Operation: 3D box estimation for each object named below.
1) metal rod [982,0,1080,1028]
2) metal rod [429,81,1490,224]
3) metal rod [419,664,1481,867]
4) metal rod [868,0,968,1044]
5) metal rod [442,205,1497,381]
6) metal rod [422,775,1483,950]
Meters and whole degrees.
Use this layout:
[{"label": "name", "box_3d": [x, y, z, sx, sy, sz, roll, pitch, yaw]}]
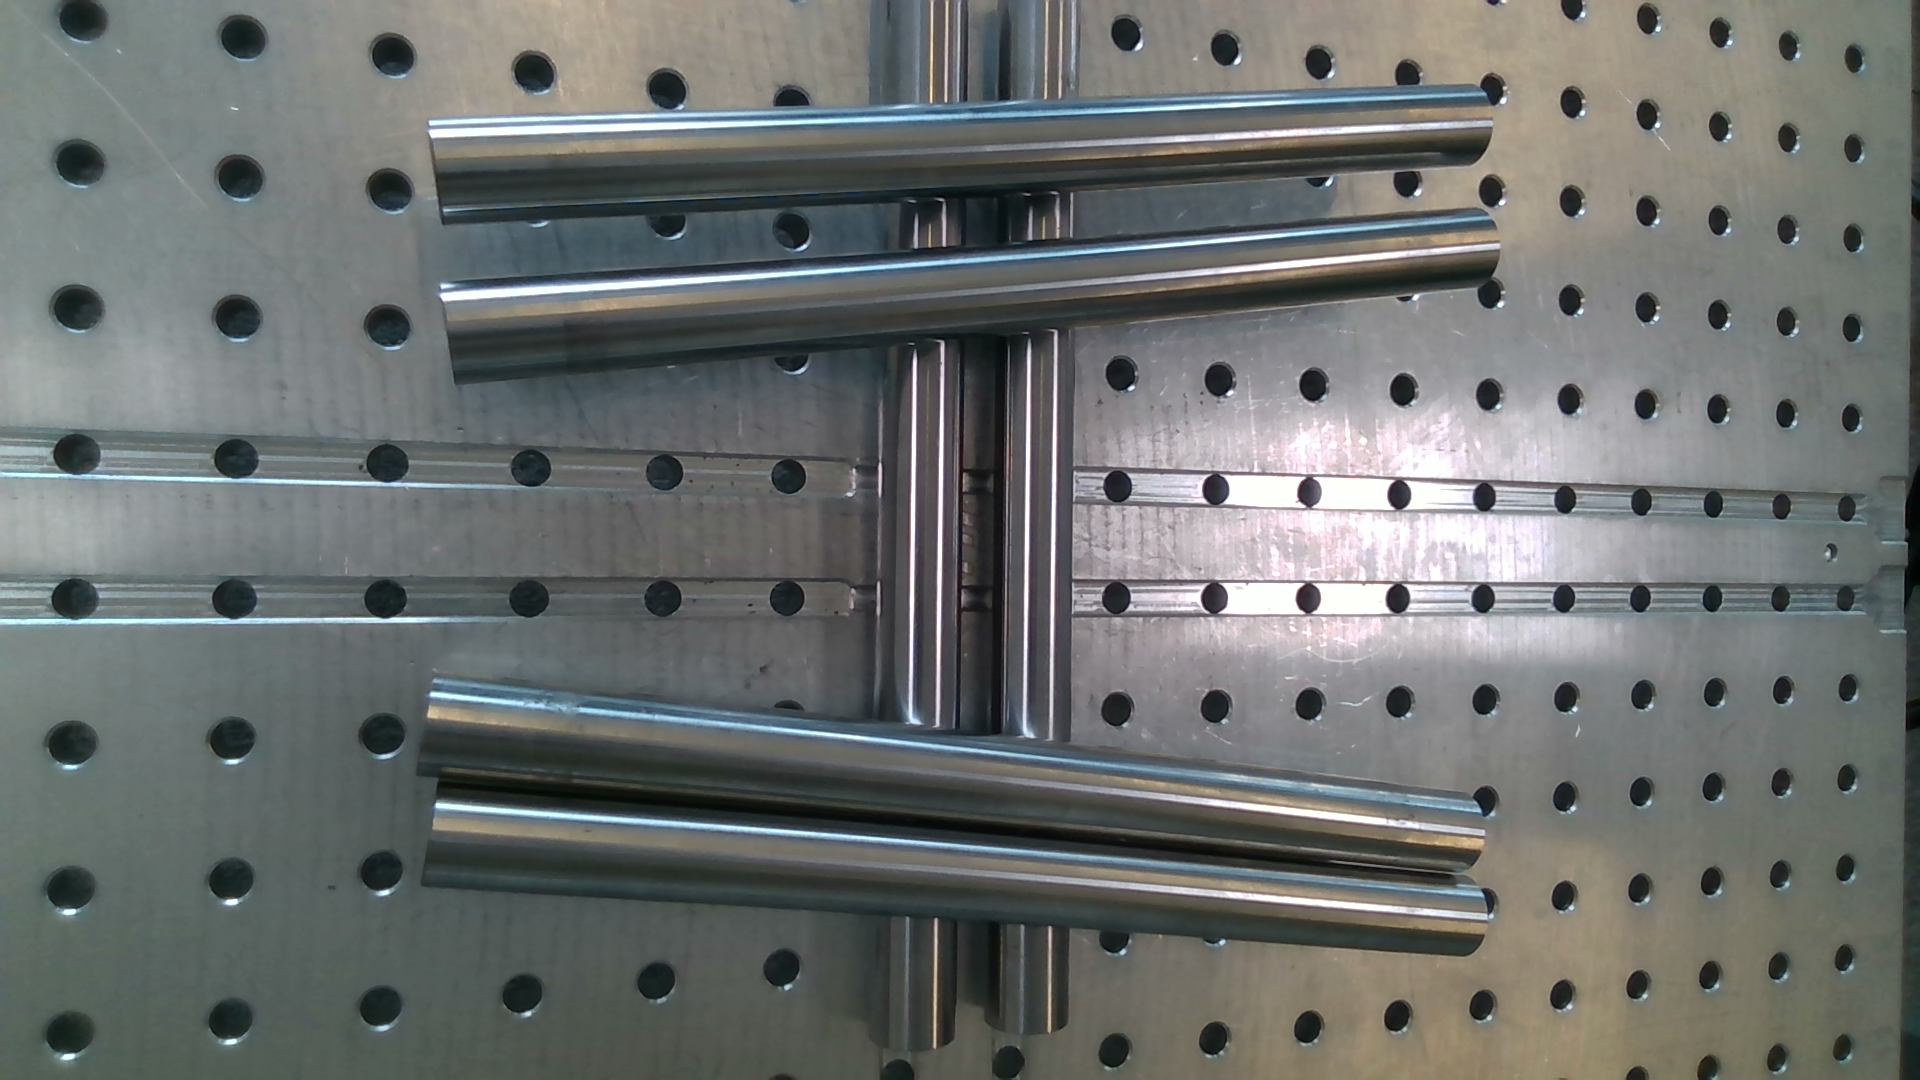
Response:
[{"label": "metal rod", "box_3d": [0.021, -0.011, 0.405, 0.025, 0.025, 0.300, 1, 90, -20]}, {"label": "metal rod", "box_3d": [0.016, -0.108, 0.376, 0.300, 0.025, 0.025, -9, 93, -20]}, {"label": "metal rod", "box_3d": [0.014, 0.065, 0.376, 0.300, 0.025, 0.025, 10, 87, -20]}, {"label": "metal rod", "box_3d": [-0.012, -0.011, 0.393, 0.025, 0.025, 0.300, 1, 90, -20]}, {"label": "metal rod", "box_3d": [0.019, -0.071, 0.377, 0.300, 0.025, 0.025, -8, 93, -20]}, {"label": "metal rod", "box_3d": [0.014, 0.091, 0.376, 0.300, 0.025, 0.025, 10, 87, -20]}]
